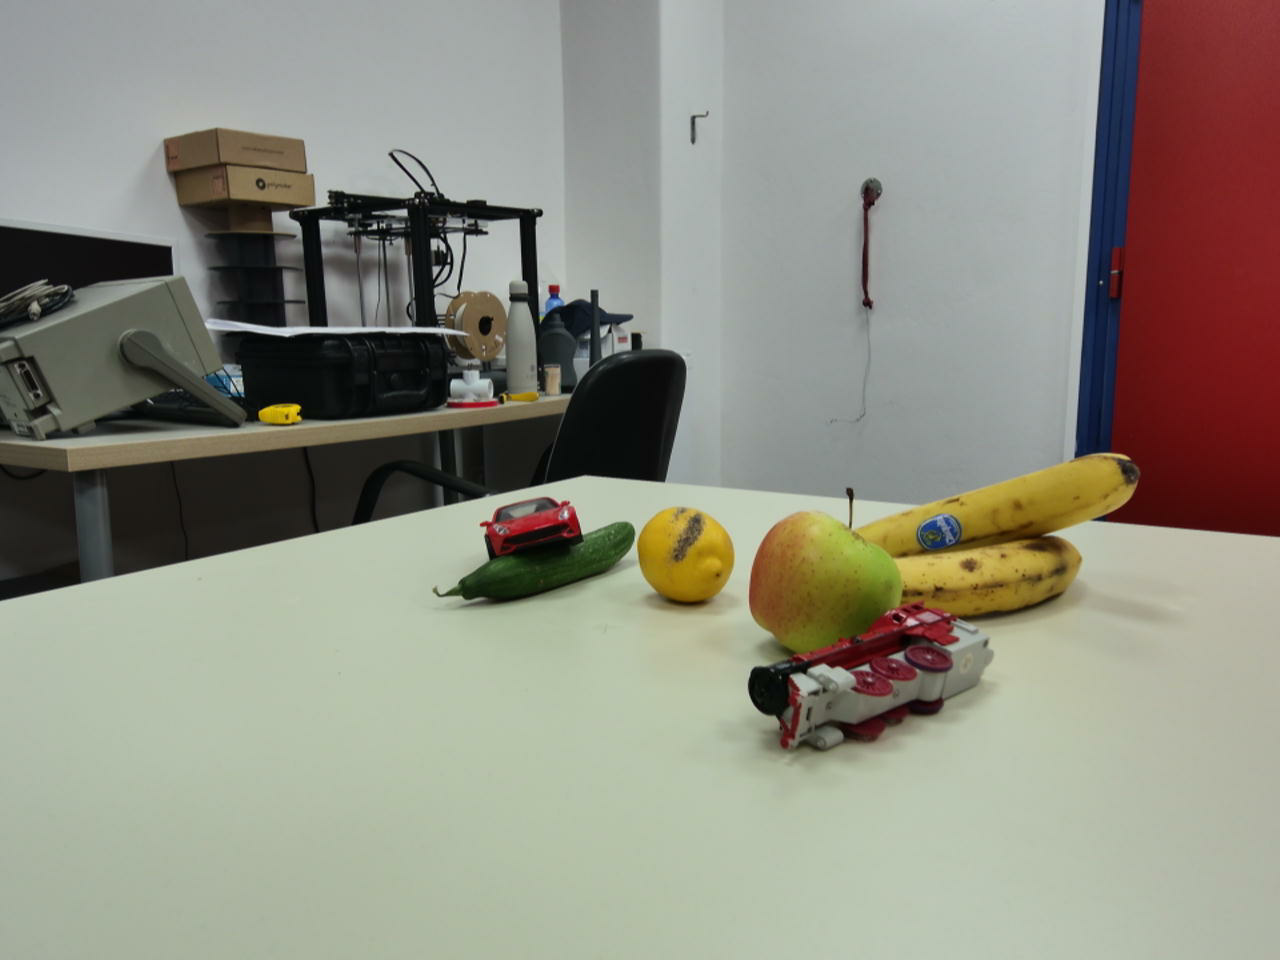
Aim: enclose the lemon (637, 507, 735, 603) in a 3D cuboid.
[{"bbox_3d":[0.029,0.045,0.609,0.061,0.056,0.058,4,8,27],"label":"lemon"}]
